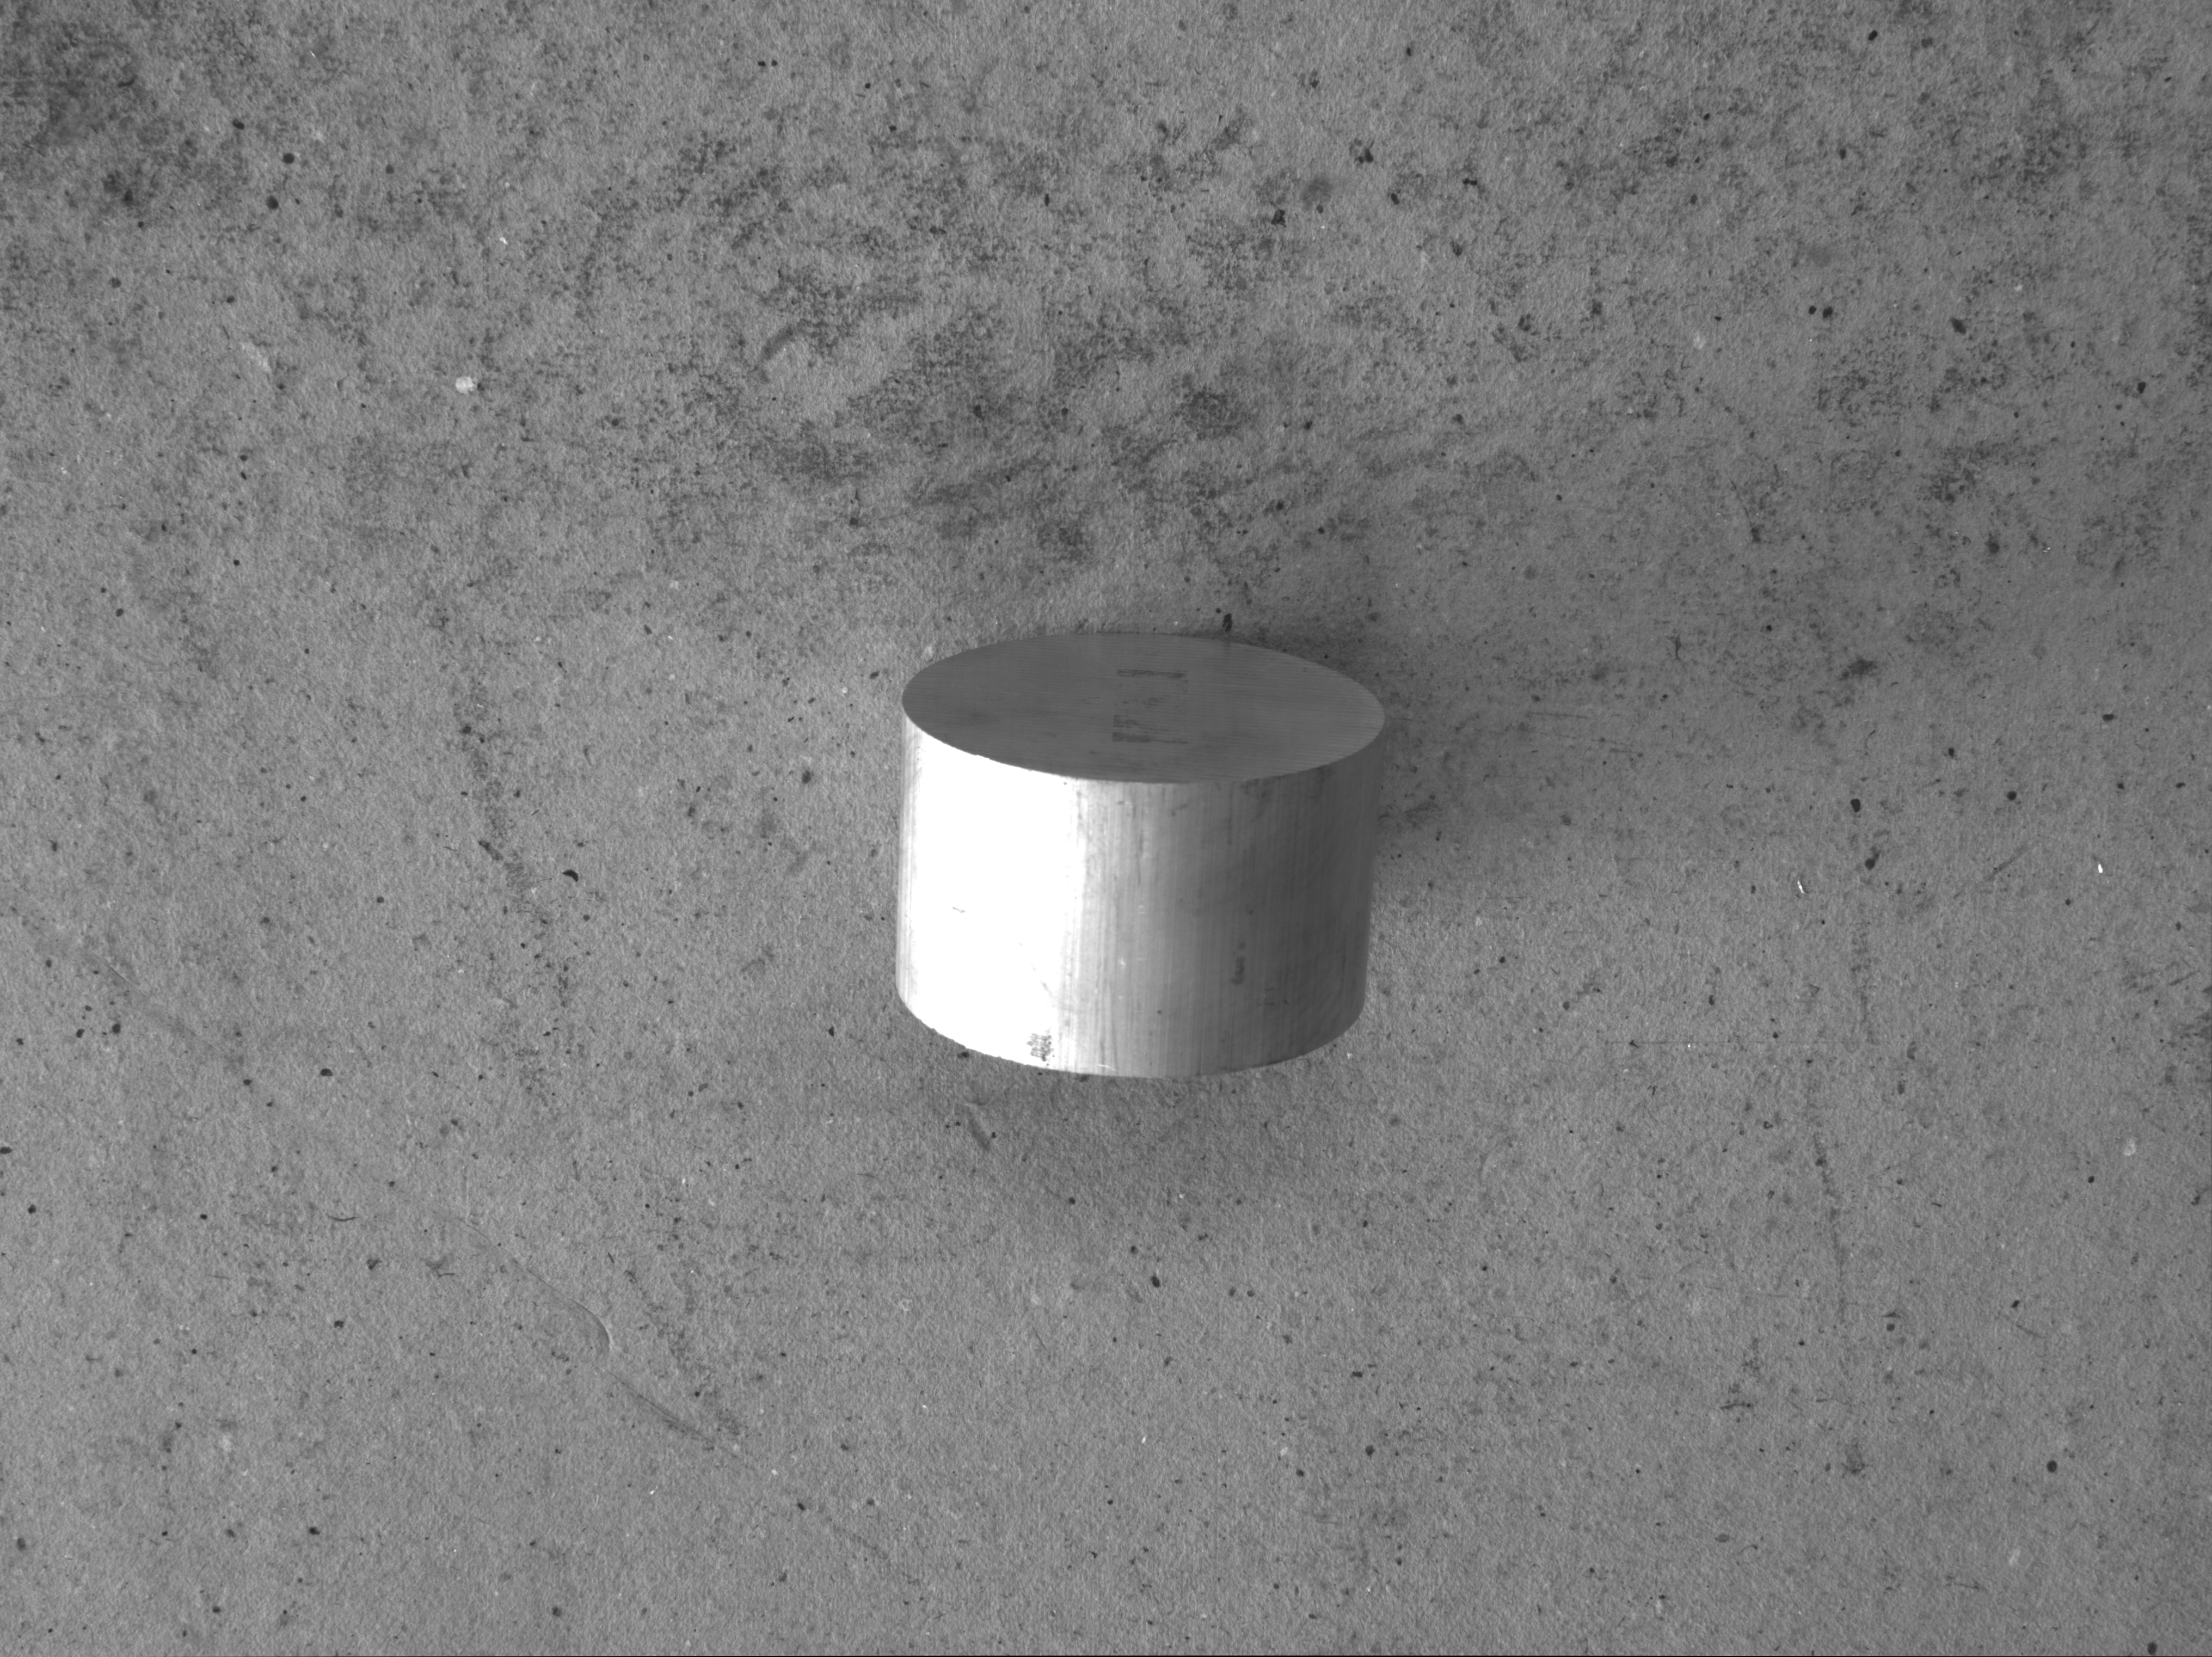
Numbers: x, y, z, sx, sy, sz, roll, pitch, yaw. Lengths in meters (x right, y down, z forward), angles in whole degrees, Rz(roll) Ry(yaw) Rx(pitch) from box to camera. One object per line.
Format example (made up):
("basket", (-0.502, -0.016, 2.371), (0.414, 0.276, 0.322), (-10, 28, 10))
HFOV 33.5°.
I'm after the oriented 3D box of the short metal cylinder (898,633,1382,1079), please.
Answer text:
("short metal cylinder", (0.005, 0.003, 0.616), (0.080, 0.080, 0.050), (2, 110, -1))
